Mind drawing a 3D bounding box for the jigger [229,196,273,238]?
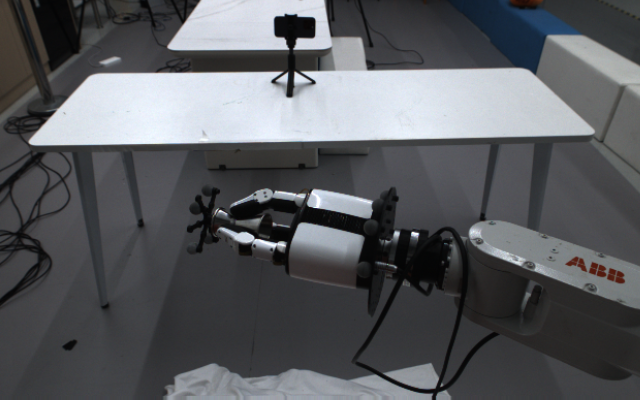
[{"bbox_3d":[-0.095,0.031,0.629,0.071,0.043,0.043,8,35,17],"label":"jigger"}]
